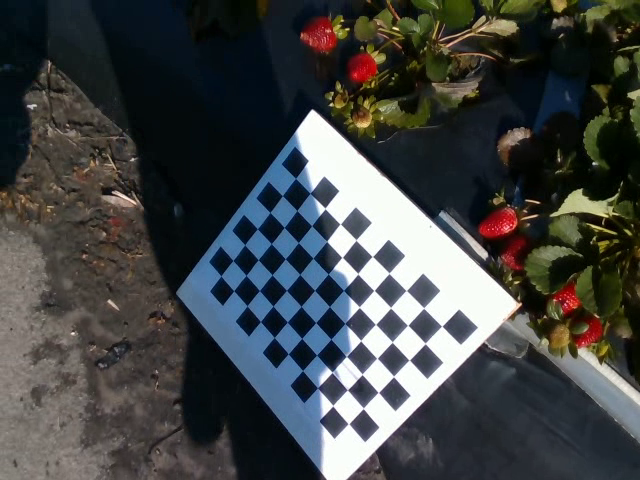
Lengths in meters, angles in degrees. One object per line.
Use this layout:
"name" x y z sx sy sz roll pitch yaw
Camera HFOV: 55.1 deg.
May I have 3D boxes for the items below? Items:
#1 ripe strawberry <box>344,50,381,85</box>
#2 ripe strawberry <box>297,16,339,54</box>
"ripe strawberry" 0.047 -0.194 0.713 0.042 0.039 0.049 -1 29 28
"ripe strawberry" -0.006 -0.241 0.732 0.050 0.051 0.044 -19 -13 -43
